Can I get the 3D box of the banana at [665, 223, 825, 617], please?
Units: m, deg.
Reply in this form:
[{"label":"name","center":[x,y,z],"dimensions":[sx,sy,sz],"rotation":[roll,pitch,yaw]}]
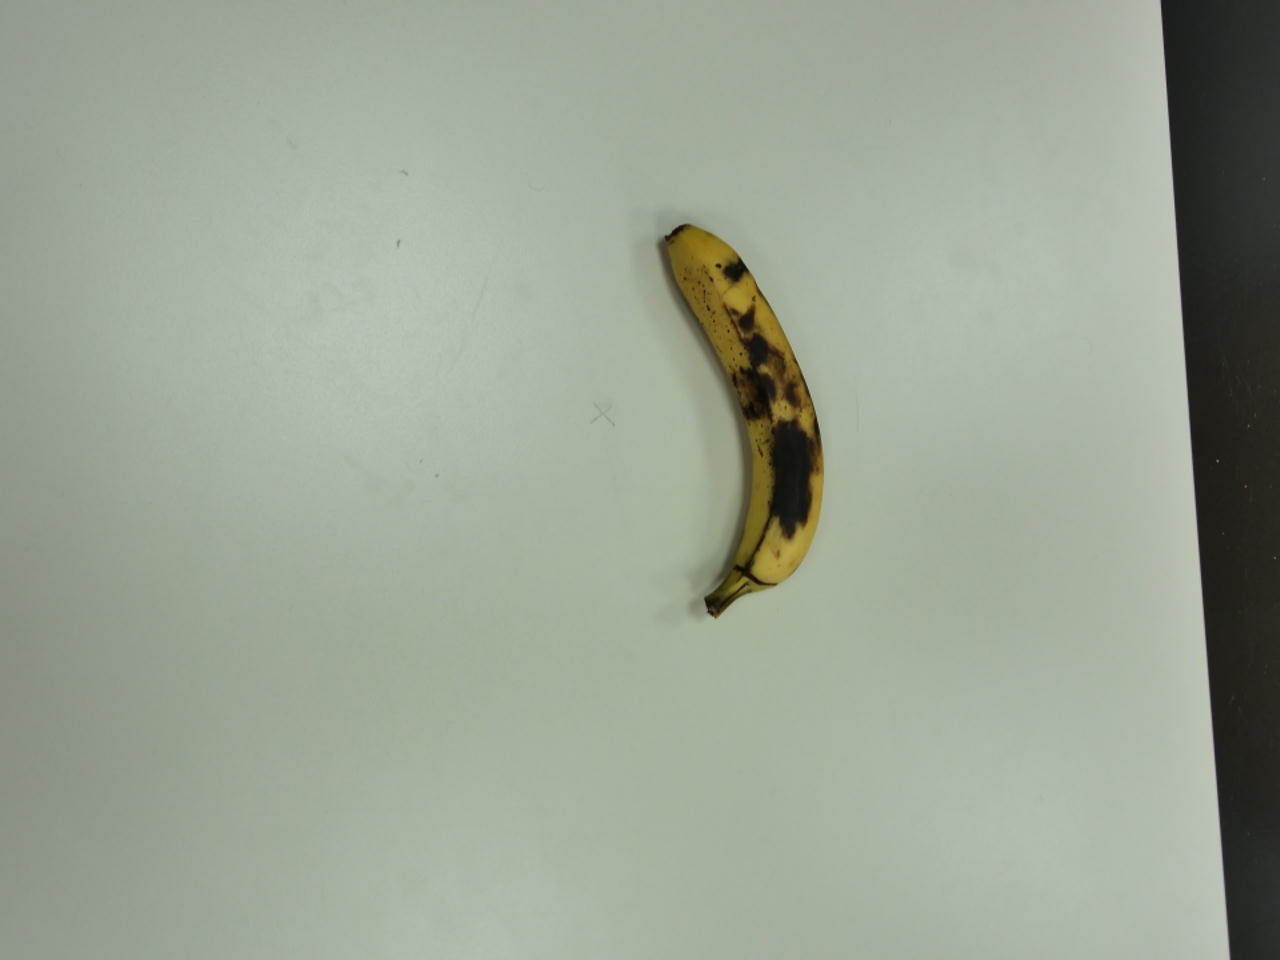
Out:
[{"label":"banana","center":[0.066,-0.036,0.576],"dimensions":[0.084,0.038,0.222],"rotation":[-5,93,-21]}]
